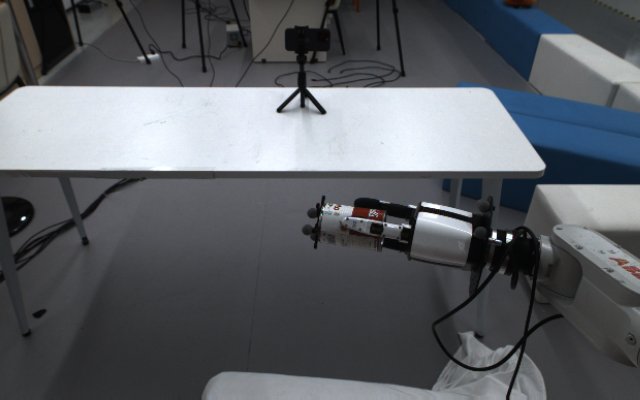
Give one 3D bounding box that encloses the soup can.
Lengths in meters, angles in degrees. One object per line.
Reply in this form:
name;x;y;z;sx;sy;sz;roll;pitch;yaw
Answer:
soup can;0.055;0.043;0.783;0.101;0.067;0.067;7;35;11
